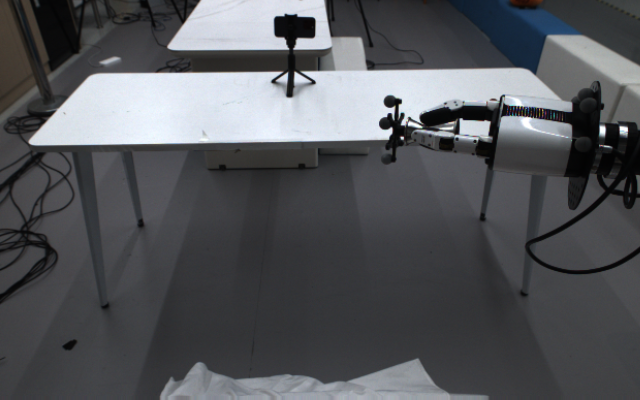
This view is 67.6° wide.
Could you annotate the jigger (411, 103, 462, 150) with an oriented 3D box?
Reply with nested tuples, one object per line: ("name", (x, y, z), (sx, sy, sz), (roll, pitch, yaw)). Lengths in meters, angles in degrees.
("jigger", (0.159, -0.095, 0.665), (0.071, 0.043, 0.043), (7, 34, 21))
